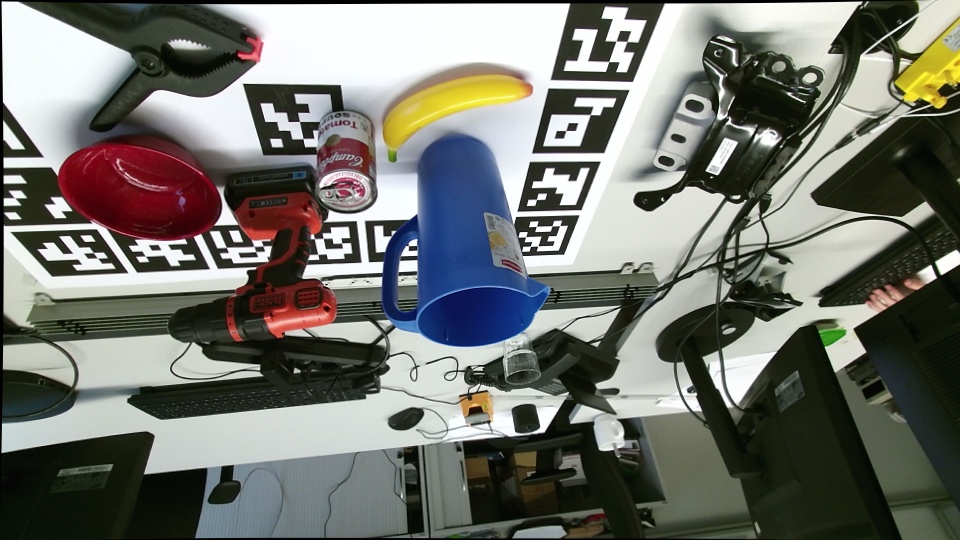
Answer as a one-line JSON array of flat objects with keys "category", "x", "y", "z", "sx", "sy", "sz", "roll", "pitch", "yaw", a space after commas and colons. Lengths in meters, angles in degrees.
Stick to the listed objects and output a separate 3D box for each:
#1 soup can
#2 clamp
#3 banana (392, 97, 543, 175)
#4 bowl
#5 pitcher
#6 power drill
[{"category": "soup can", "x": -0.148, "y": -0.107, "z": 0.632, "sx": 0.068, "sy": 0.101, "sz": 0.068, "roll": -7, "pitch": 151, "yaw": -4}, {"category": "clamp", "x": -0.301, "y": -0.195, "z": 0.522, "sx": 0.203, "sy": 0.036, "sz": 0.165, "roll": -3, "pitch": 138, "yaw": -9}, {"category": "banana", "x": -0.024, "y": -0.167, "z": 0.637, "sx": 0.198, "sy": 0.038, "sz": 0.074, "roll": -16, "pitch": 151, "yaw": 10}, {"category": "bowl", "x": -0.380, "y": -0.092, "z": 0.631, "sx": 0.162, "sy": 0.055, "sz": 0.162, "roll": -7, "pitch": 141, "yaw": -6}, {"category": "pitcher", "x": -0.027, "y": -0.017, "z": 0.661, "sx": 0.189, "sy": 0.241, "sz": 0.133, "roll": -17, "pitch": 145, "yaw": 8}, {"category": "power drill", "x": -0.268, "y": 0.006, "z": 0.647, "sx": 0.185, "sy": 0.186, "sz": 0.057, "roll": -5, "pitch": 142, "yaw": -7}]
